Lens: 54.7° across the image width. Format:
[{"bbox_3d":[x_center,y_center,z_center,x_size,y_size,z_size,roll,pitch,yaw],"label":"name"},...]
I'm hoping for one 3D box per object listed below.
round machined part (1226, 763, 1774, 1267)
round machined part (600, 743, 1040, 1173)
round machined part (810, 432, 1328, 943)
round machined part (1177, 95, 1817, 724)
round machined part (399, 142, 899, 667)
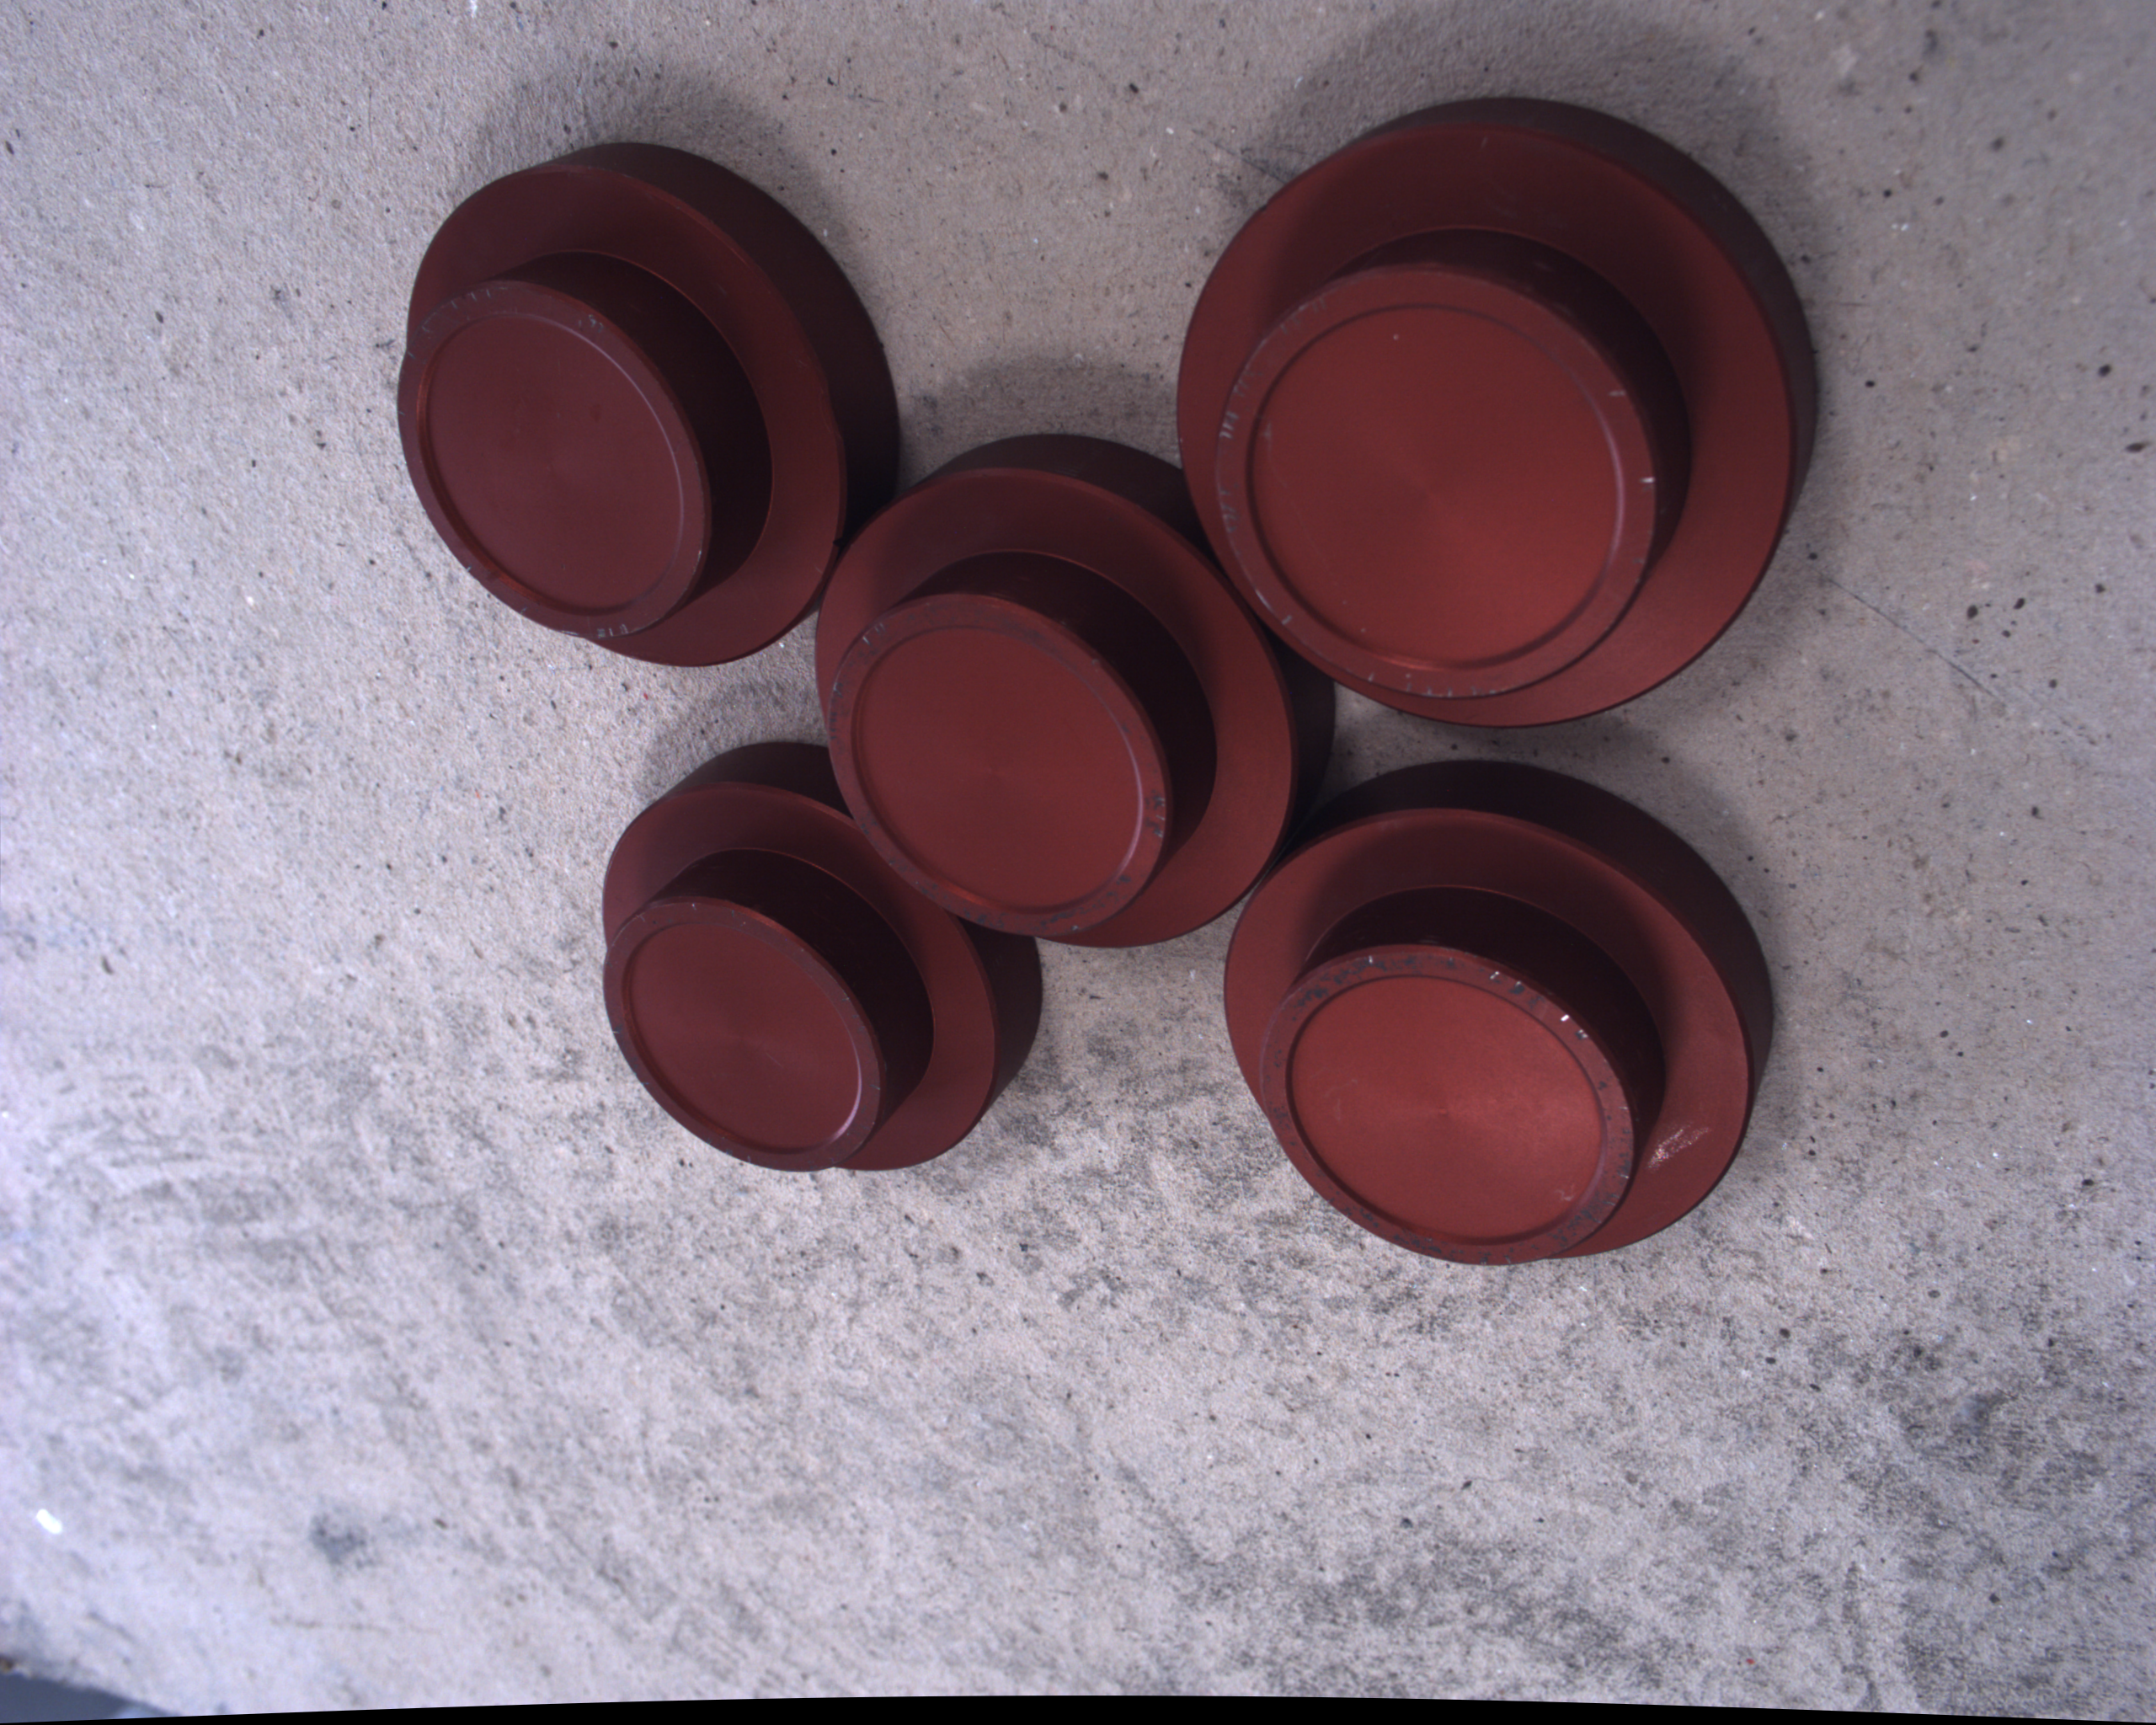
[{"bbox_3d":[0.072,0.034,0.380,0.098,0.042,0.097,14,126,20],"label":"round machined part"},{"bbox_3d":[-0.061,0.027,0.446,0.098,0.042,0.097,13,125,20],"label":"round machined part"},{"bbox_3d":[-0.007,-0.026,0.385,0.098,0.042,0.097,14,126,20],"label":"round machined part"},{"bbox_3d":[0.060,-0.064,0.325,0.098,0.042,0.097,14,126,20],"label":"round machined part"},{"bbox_3d":[-0.087,-0.081,0.393,0.098,0.042,0.097,13,124,21],"label":"round machined part"}]
